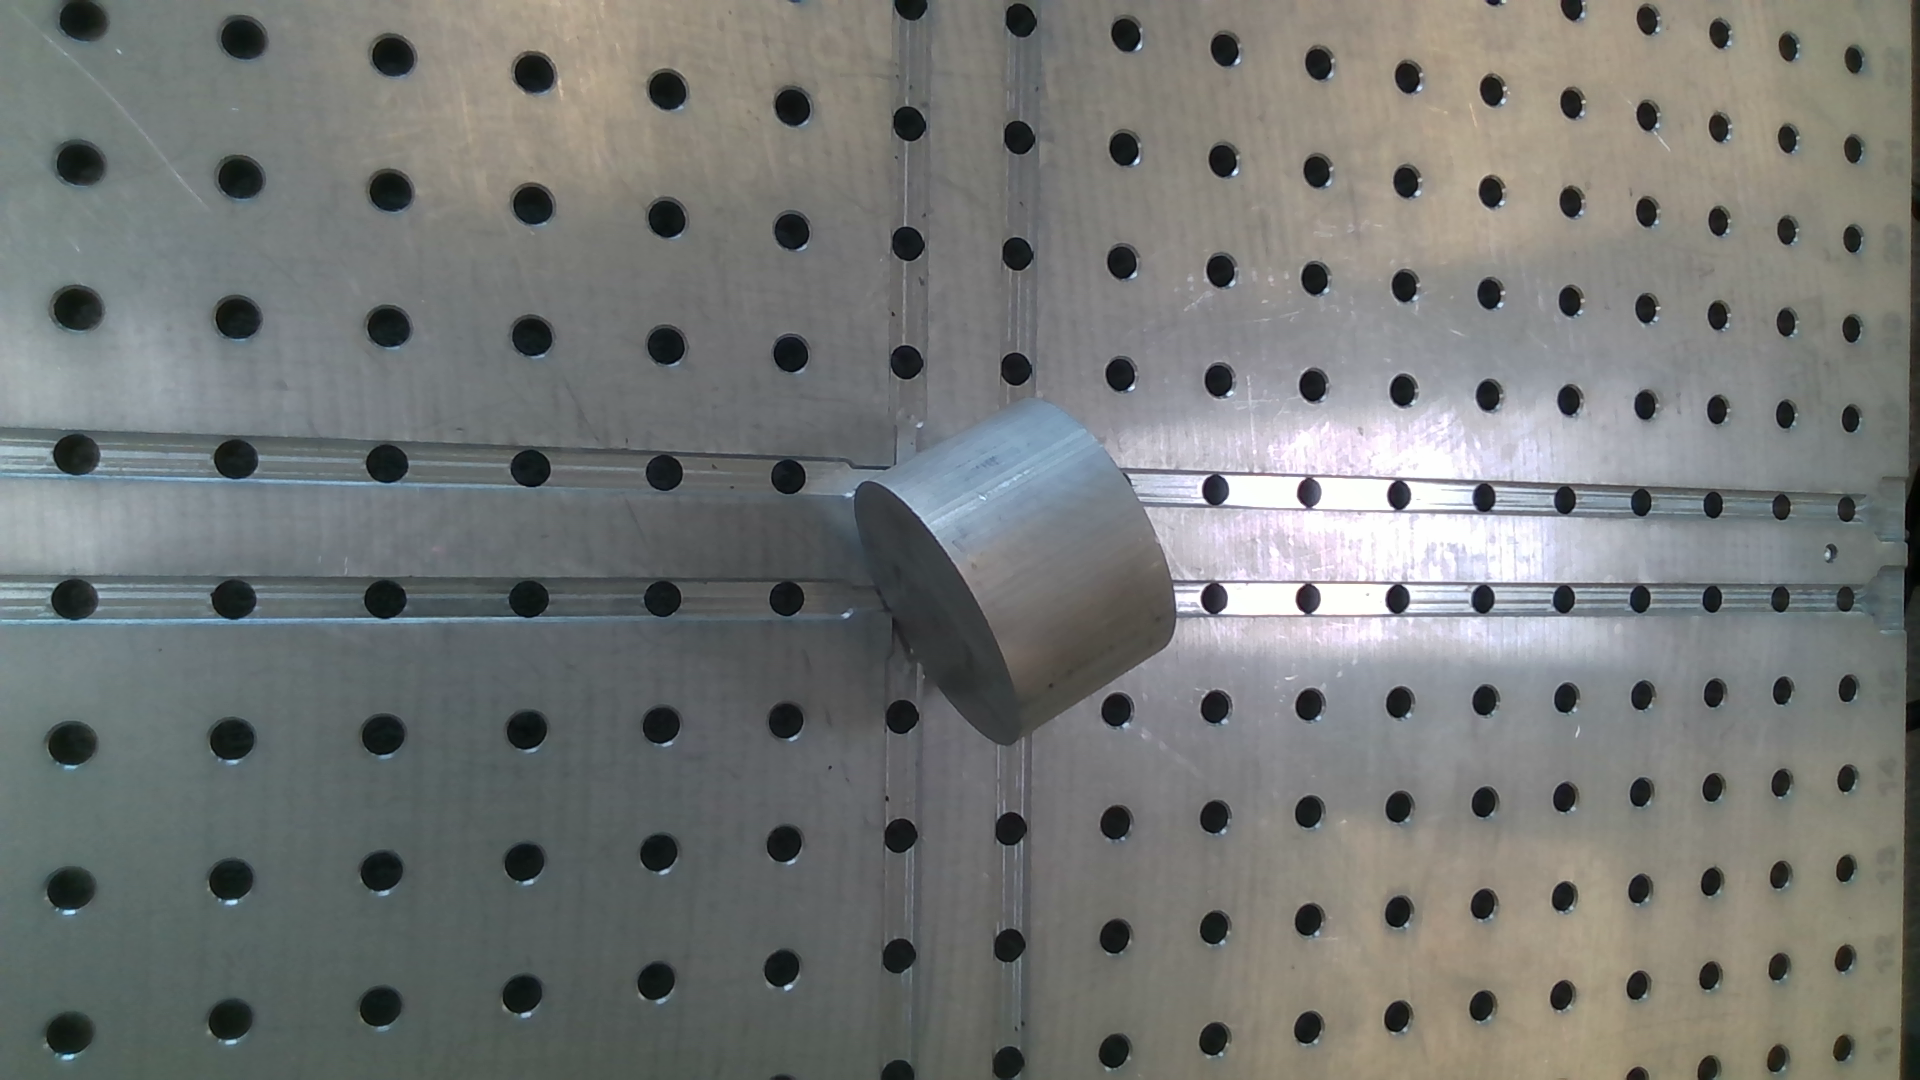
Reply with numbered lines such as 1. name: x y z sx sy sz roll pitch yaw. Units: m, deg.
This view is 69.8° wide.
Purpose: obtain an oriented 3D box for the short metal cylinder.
1. short metal cylinder: 0.014 0.008 0.371 0.050 0.080 0.080 -30 100 -19
